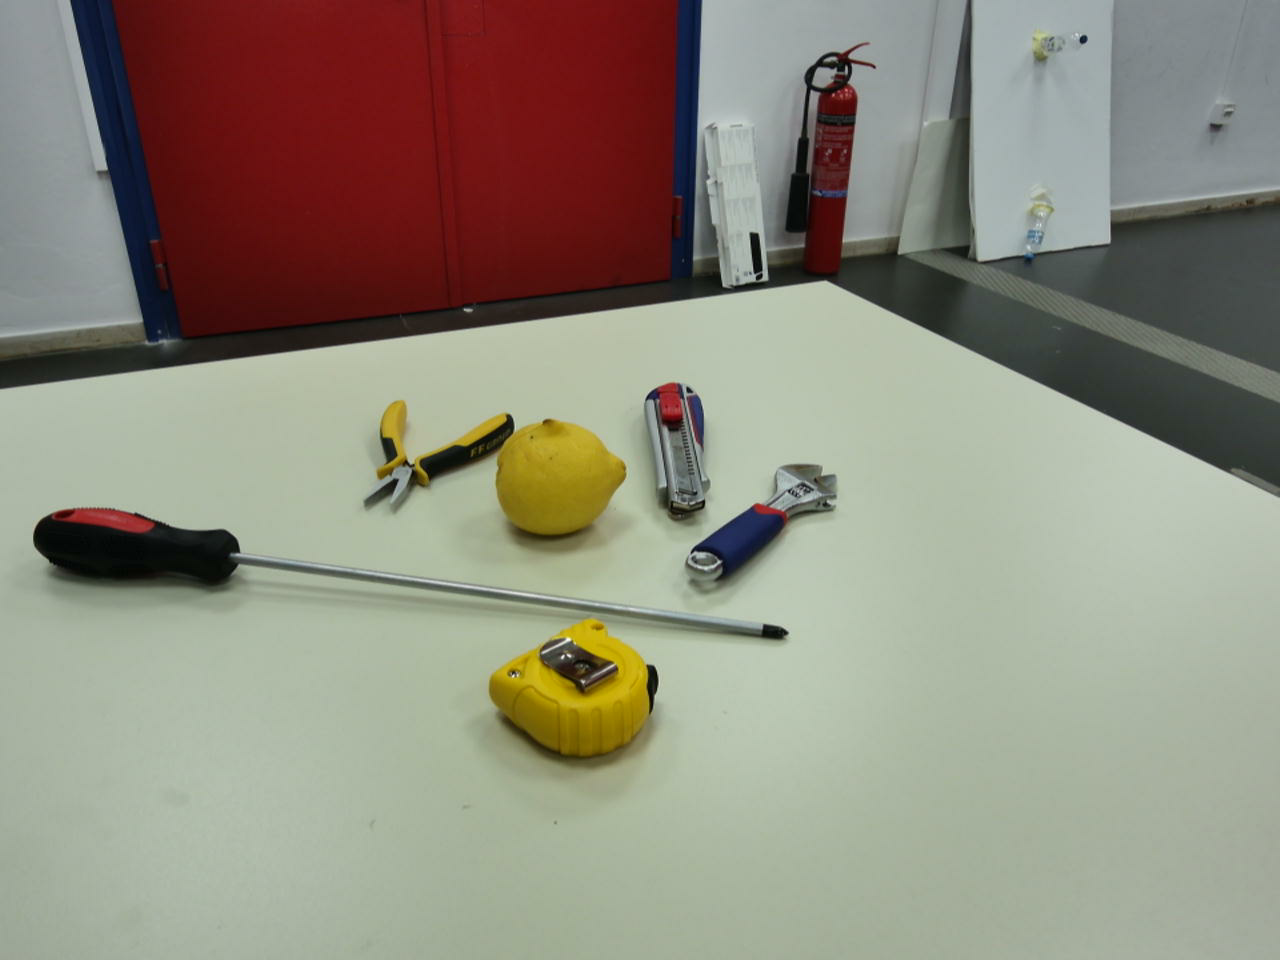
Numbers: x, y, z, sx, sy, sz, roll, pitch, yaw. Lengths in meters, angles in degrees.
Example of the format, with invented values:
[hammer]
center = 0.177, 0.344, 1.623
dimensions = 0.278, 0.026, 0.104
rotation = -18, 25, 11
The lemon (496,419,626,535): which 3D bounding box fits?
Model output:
[lemon]
center = -0.051, -0.004, 0.586
dimensions = 0.071, 0.071, 0.070
rotation = 15, 30, 28
